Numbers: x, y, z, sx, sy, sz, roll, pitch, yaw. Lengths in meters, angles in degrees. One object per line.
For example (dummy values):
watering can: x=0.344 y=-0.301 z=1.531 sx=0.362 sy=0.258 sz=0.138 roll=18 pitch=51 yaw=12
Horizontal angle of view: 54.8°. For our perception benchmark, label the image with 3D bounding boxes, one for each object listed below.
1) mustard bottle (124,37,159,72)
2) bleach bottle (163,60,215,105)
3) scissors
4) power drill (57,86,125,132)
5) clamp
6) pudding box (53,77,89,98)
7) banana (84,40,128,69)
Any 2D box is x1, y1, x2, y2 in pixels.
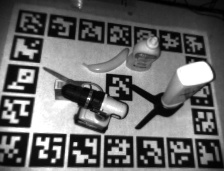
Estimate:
mustard bottle: x=0.112 y=-0.113 z=0.764 sx=0.096 sy=0.191 sz=0.058 roll=17 pitch=68 yaw=-6
bleach bottle: x=0.225 y=0.010 z=0.695 sx=0.103 sy=0.251 sz=0.067 roll=-16 pitch=70 yaw=-9
scissors: x=-0.133 y=-0.015 z=0.654 sx=0.203 sy=0.016 sz=0.088 roll=29 pitch=71 yaw=-7
power drill: x=-0.065 y=0.071 z=0.625 sx=0.185 sy=0.187 sz=0.057 roll=15 pitch=61 yaw=-3
clamp: x=0.172 y=0.058 z=0.779 sx=0.204 sy=0.036 sz=0.165 roll=-2 pitch=74 yaw=-15
pudding box: x=-0.136 y=0.014 z=0.712 sx=0.114 sy=0.090 sz=0.038 roll=8 pitch=62 yaw=-10
banana: x=-0.006 y=-0.112 z=0.807 sx=0.198 sy=0.039 sz=0.073 roll=-36 pitch=65 yaw=-21
